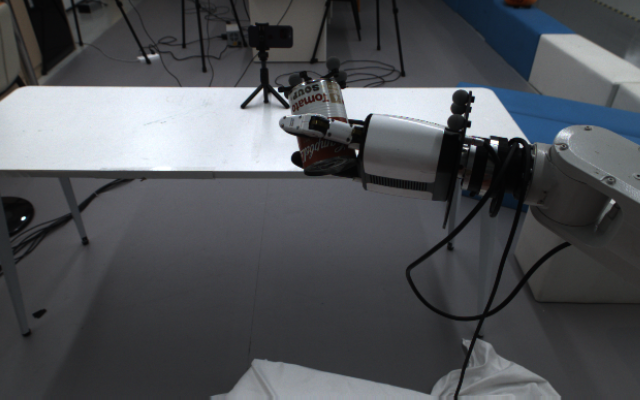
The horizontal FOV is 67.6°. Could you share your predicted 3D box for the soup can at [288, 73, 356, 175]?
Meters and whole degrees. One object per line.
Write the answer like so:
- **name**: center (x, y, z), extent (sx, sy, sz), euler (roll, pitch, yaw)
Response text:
- **soup can**: center (0.004, -0.087, 0.593), extent (0.067, 0.067, 0.101), euler (-10, 80, -17)
